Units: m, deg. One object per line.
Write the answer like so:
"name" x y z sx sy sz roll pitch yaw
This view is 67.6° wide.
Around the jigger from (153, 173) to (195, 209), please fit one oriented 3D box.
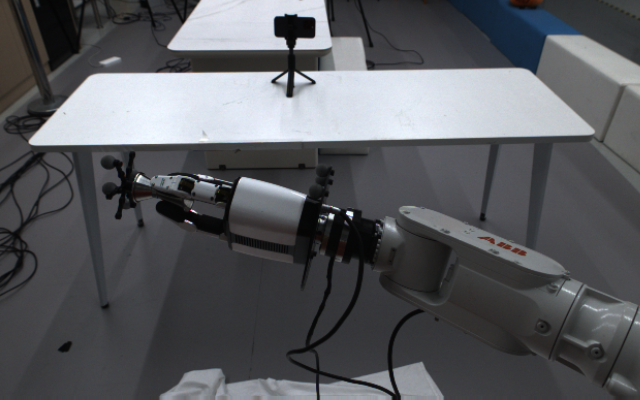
"jigger" -0.191 -0.014 0.620 0.071 0.043 0.043 8 35 2
